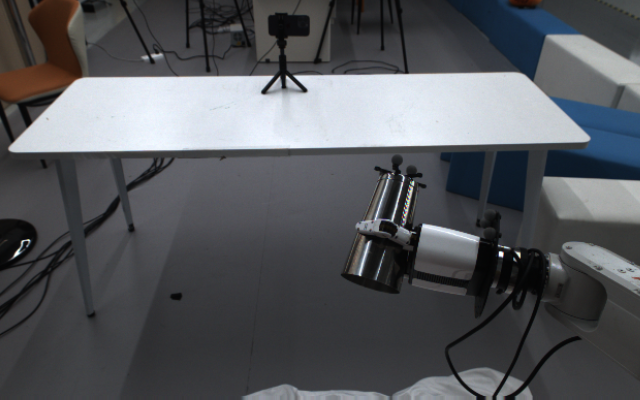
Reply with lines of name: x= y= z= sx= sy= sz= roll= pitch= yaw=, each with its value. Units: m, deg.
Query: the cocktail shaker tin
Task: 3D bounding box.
cocktail shaker tin: x=0.100 y=0.049 z=0.745 sx=0.093 sy=0.093 sz=0.170 roll=14 pitch=73 yaw=17
